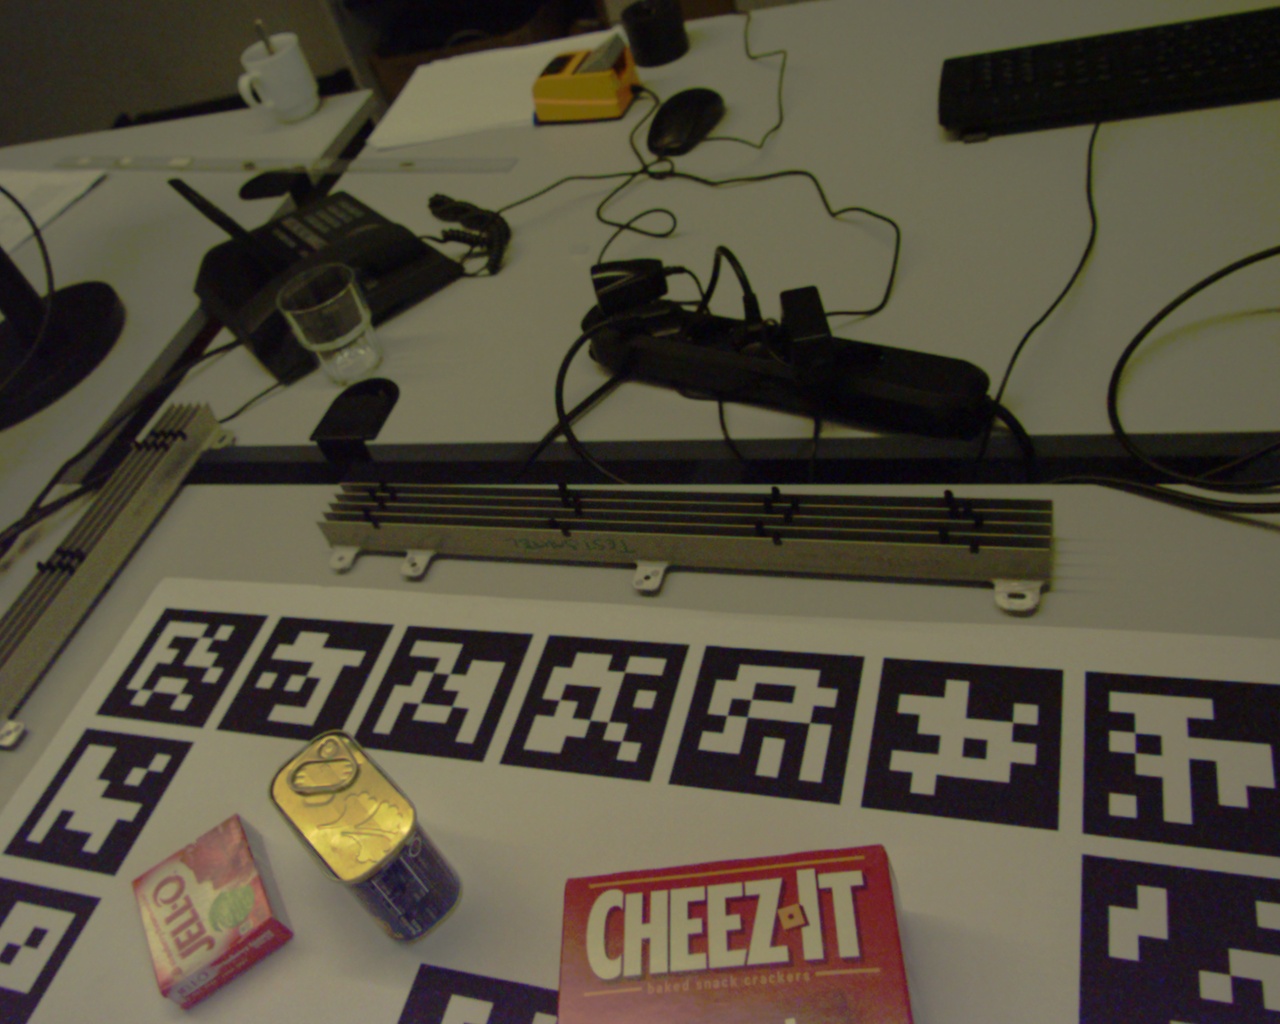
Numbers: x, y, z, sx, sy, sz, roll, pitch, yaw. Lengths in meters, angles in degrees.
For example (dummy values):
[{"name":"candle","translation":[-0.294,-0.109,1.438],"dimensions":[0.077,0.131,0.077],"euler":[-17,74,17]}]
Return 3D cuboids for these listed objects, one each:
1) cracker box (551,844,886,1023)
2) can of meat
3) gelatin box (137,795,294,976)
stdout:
[{"name":"cracker box","translation":[0.041,0.277,0.550],"dimensions":[0.165,0.071,0.214],"euler":[-10,41,8]},{"name":"can of meat","translation":[-0.160,0.193,0.707],"dimensions":[0.057,0.083,0.103],"euler":[-40,45,-23]},{"name":"gelatin box","translation":[-0.273,0.237,0.731],"dimensions":[0.073,0.030,0.090],"euler":[-30,45,-16]}]
